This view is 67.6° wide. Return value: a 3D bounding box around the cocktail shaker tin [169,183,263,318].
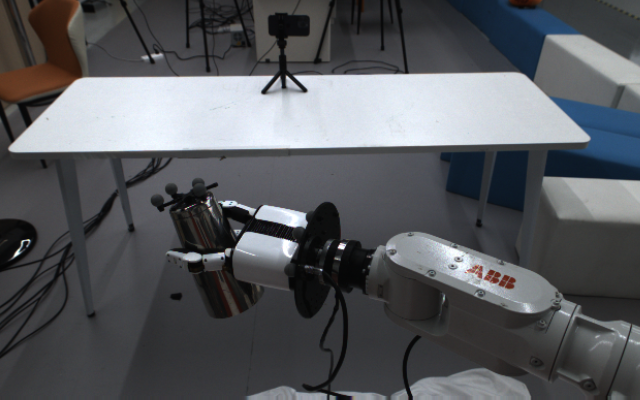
[{"bbox_3d":[-0.155,0.077,0.707,0.093,0.170,0.093,-17,20,7],"label":"cocktail shaker tin"}]
